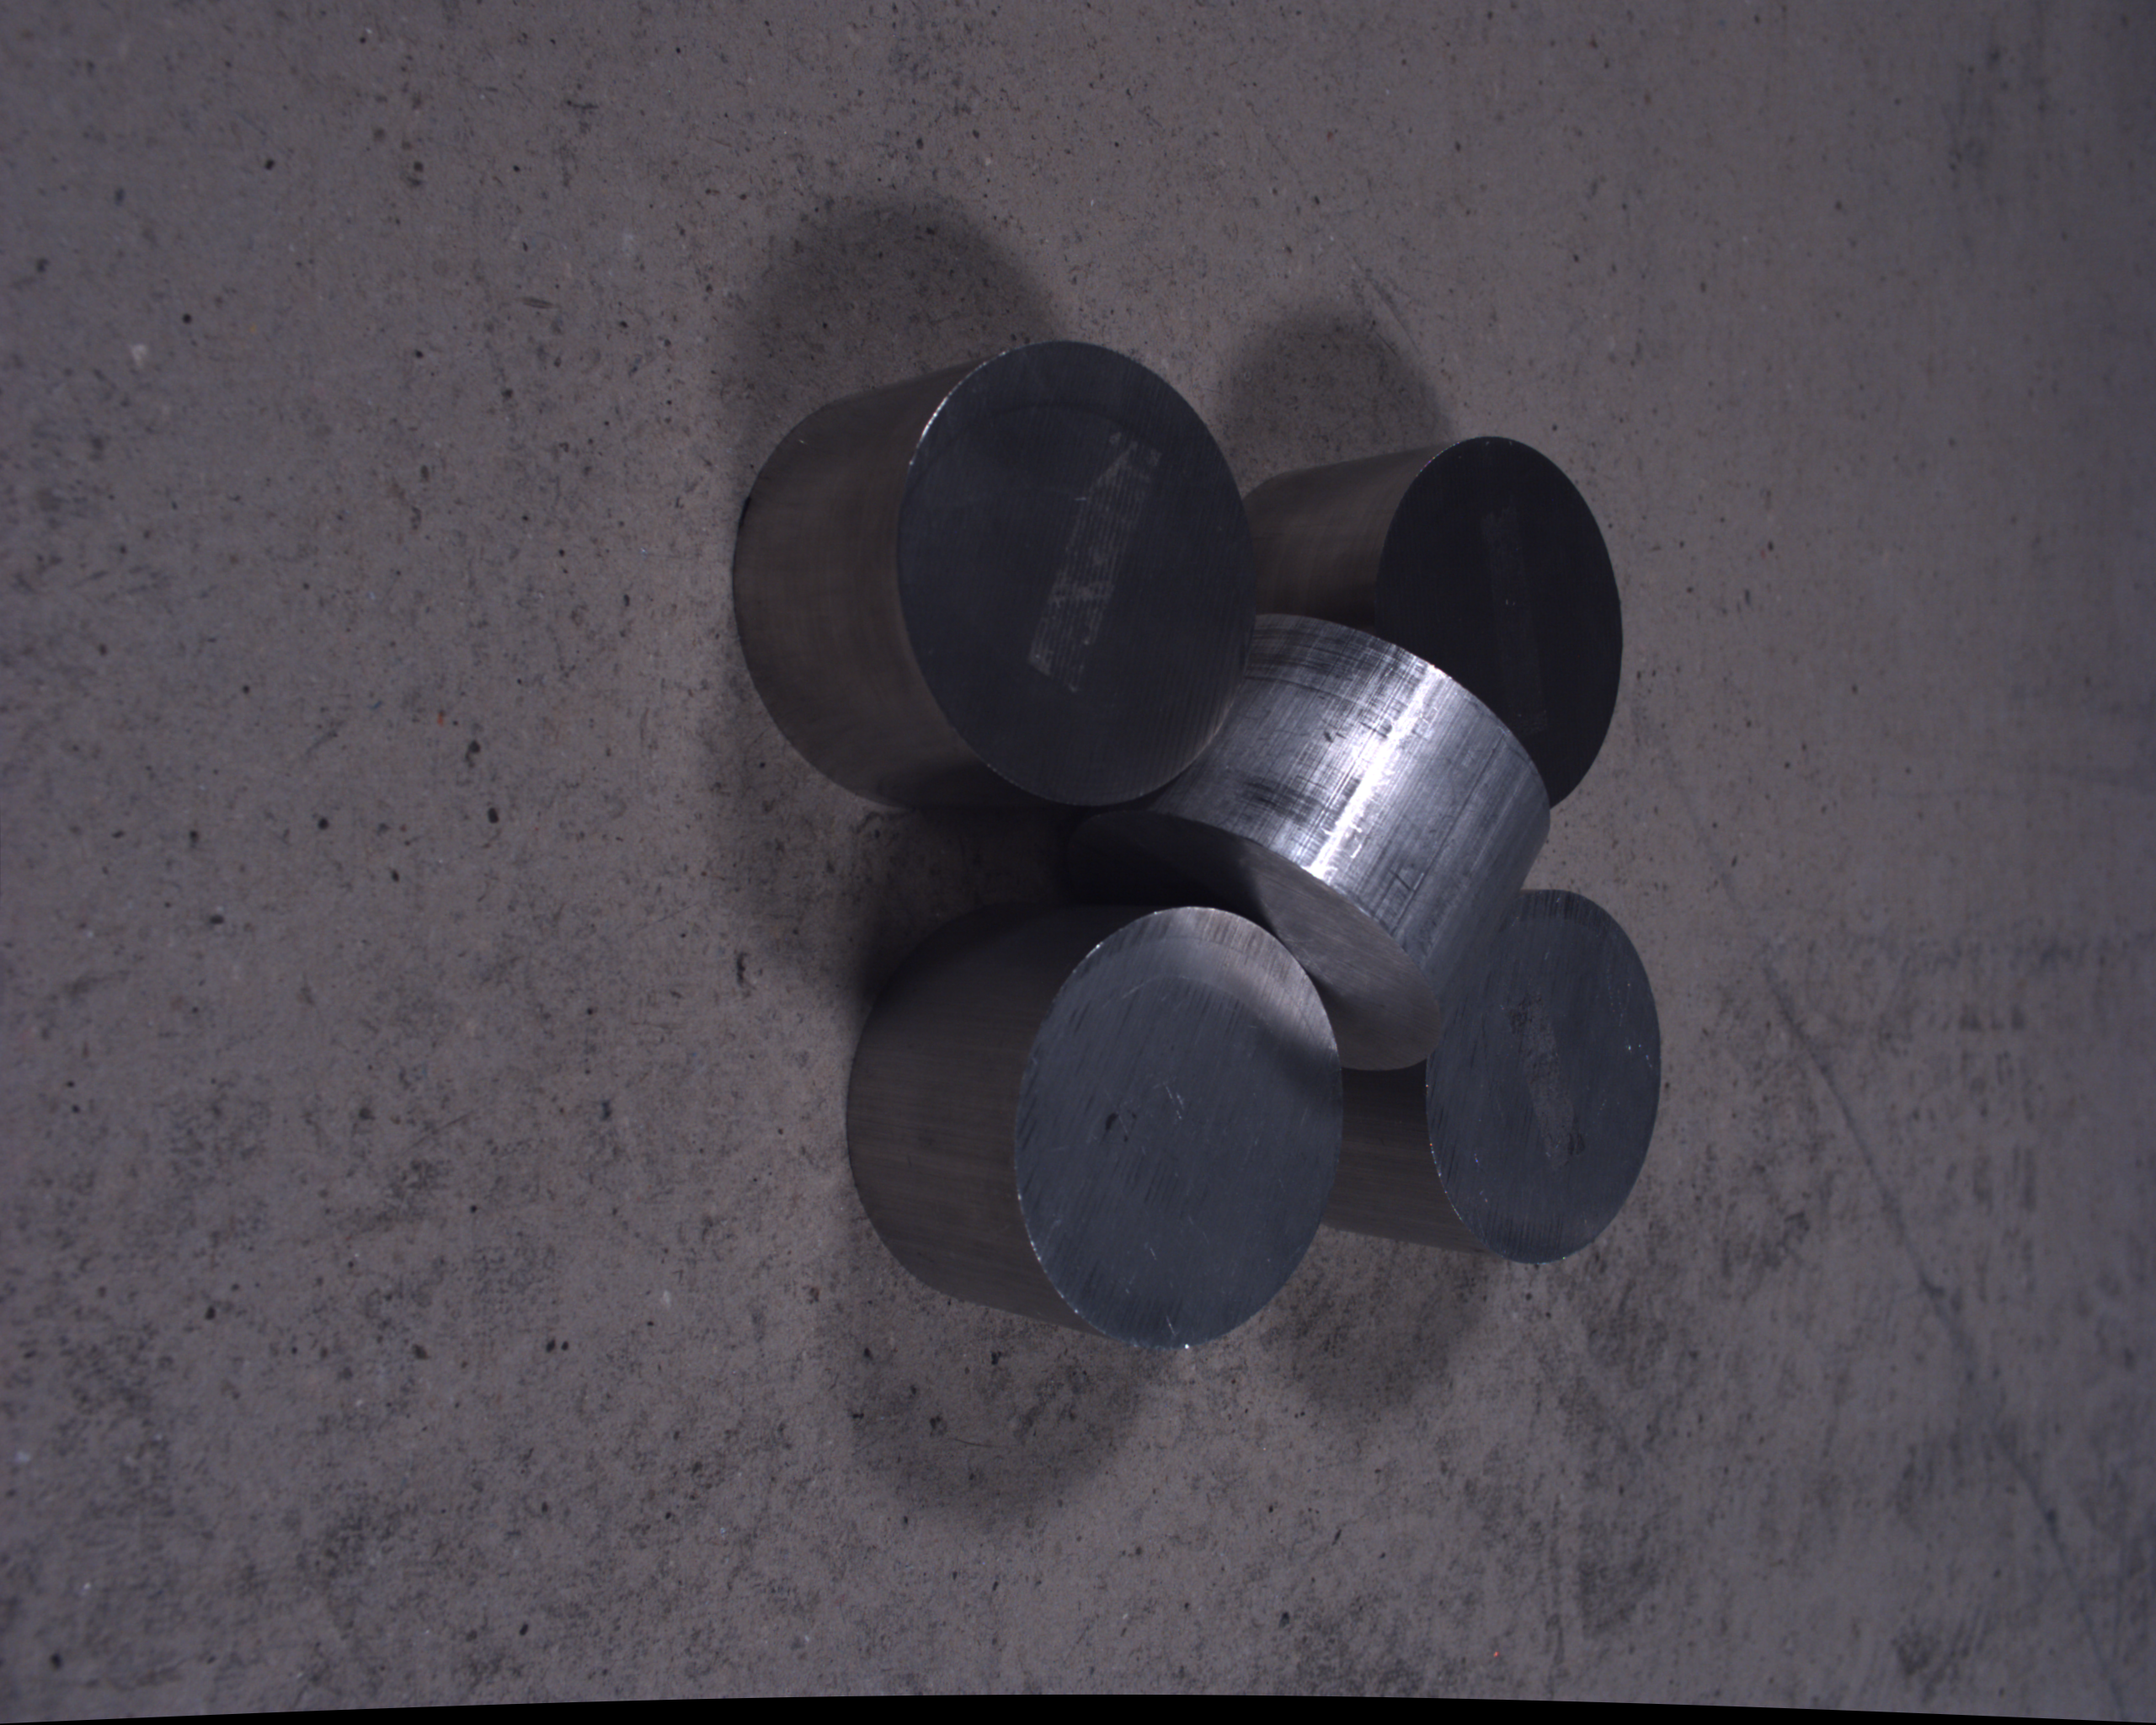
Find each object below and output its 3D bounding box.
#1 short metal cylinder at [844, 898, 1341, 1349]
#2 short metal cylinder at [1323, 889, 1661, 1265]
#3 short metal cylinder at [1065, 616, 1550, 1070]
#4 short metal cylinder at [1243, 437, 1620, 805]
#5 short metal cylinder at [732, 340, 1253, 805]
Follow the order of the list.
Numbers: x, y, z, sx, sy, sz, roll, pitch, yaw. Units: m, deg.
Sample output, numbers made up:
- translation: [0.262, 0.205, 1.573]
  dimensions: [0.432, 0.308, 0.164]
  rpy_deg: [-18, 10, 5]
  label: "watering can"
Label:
- translation: [0.004, 0.047, 0.394]
  dimensions: [0.081, 0.050, 0.079]
  rpy_deg: [0, 90, -40]
  label: "short metal cylinder"
- translation: [0.084, 0.045, 0.462]
  dimensions: [0.081, 0.050, 0.079]
  rpy_deg: [0, 90, -40]
  label: "short metal cylinder"
- translation: [0.045, -0.003, 0.411]
  dimensions: [0.080, 0.080, 0.050]
  rpy_deg: [47, 62, -30]
  label: "short metal cylinder"
- translation: [0.072, -0.048, 0.450]
  dimensions: [0.081, 0.050, 0.079]
  rpy_deg: [0, 90, -40]
  label: "short metal cylinder"
- translation: [-0.015, -0.050, 0.378]
  dimensions: [0.081, 0.050, 0.079]
  rpy_deg: [0, 90, -40]
  label: "short metal cylinder"
